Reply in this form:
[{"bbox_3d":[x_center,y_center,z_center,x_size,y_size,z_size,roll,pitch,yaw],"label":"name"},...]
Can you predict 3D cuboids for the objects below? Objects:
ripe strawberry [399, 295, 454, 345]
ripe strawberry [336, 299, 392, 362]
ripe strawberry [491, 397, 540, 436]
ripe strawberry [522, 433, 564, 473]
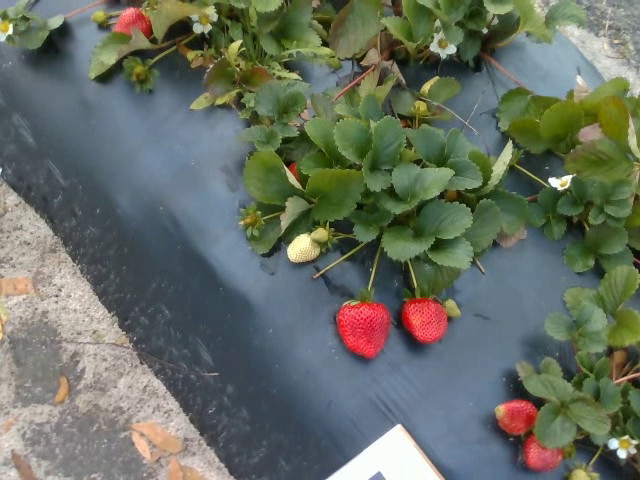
[{"bbox_3d":[0.112,0.087,0.652,0.050,0.051,0.060,-17,32,18],"label":"ripe strawberry"},{"bbox_3d":[0.047,0.095,0.642,0.058,0.065,0.043,-12,-25,19],"label":"ripe strawberry"},{"bbox_3d":[0.193,0.177,0.622,0.053,0.047,0.039,26,8,-16],"label":"ripe strawberry"},{"bbox_3d":[0.213,0.210,0.602,0.049,0.044,0.041,-23,-25,-52],"label":"ripe strawberry"}]
